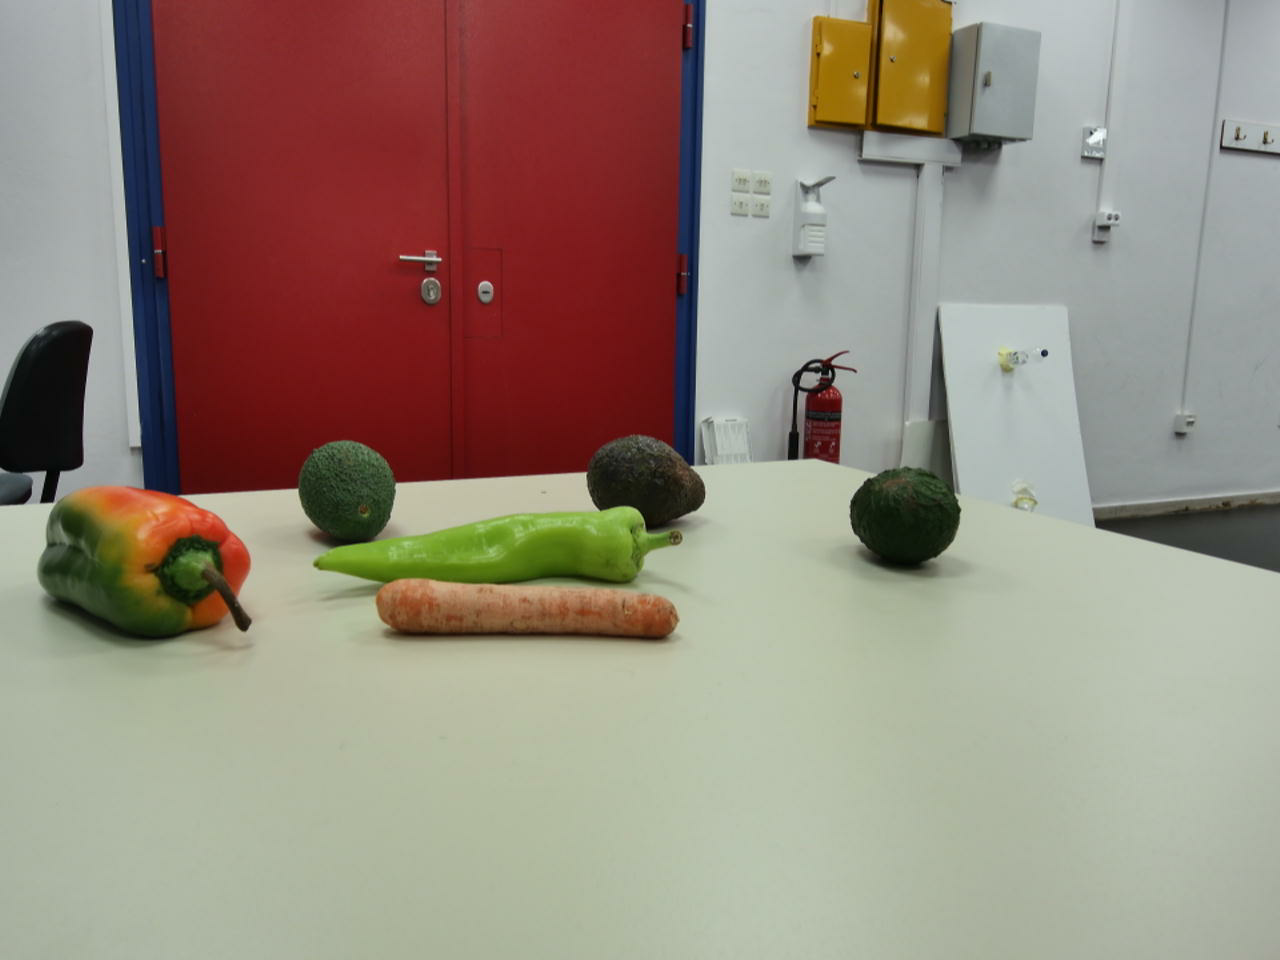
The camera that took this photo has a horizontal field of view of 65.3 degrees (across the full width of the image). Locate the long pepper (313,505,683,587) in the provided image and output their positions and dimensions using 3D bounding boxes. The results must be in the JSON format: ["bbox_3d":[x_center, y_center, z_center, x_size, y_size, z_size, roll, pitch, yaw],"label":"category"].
[{"bbox_3d":[-0.081,0.040,0.589,0.204,0.045,0.065,-1,8,-8],"label":"long pepper"}]
